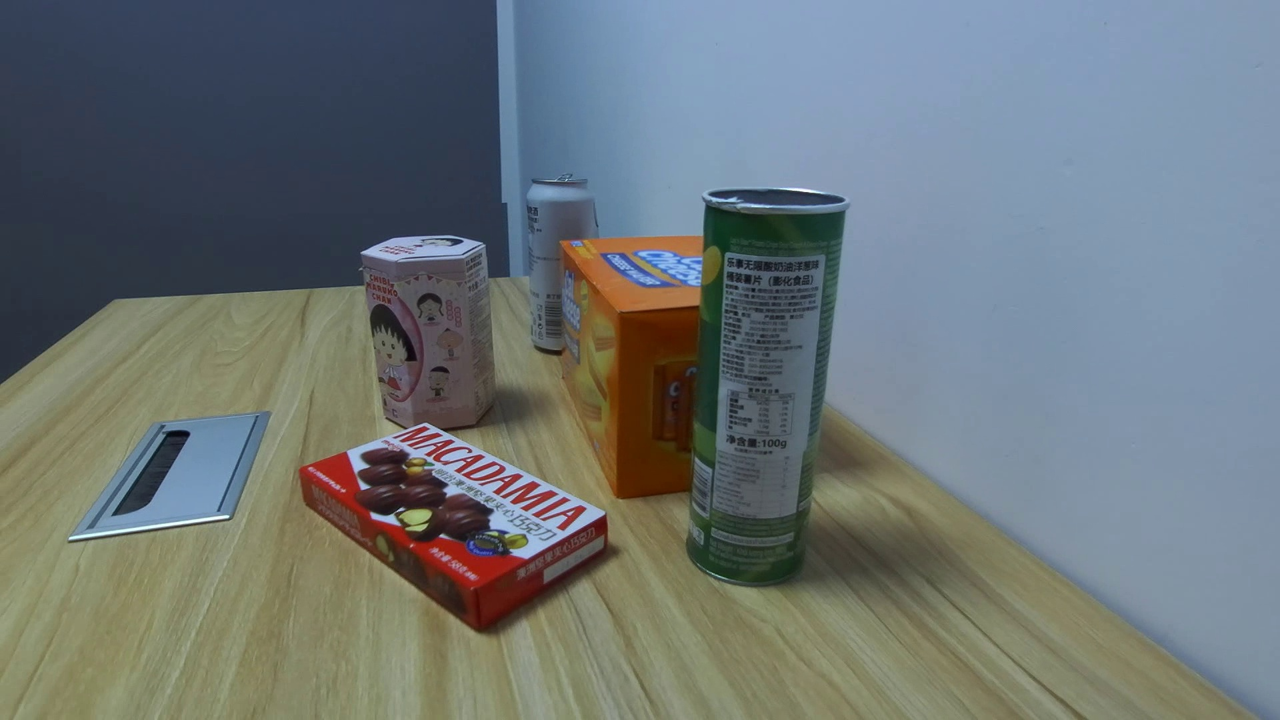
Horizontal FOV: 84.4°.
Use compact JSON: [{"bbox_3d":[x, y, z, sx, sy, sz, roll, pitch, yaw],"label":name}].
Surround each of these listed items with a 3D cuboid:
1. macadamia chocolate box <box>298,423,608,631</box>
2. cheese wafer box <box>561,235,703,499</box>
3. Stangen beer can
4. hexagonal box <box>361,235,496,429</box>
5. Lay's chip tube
[{"bbox_3d":[-0.115,0.088,0.422,0.177,0.027,0.096,18,25,36],"label":"macadamia chocolate box"},{"bbox_3d":[0.031,-0.008,0.553,0.148,0.129,0.221,-4,21,-14],"label":"cheese wafer box"},{"bbox_3d":[-0.076,-0.095,0.706,0.070,0.173,0.070,-9,20,-30],"label":"Stangen beer can"},{"bbox_3d":[-0.162,-0.022,0.552,0.091,0.136,0.084,17,26,36],"label":"hexagonal box"},{"bbox_3d":[0.063,0.015,0.370,0.071,0.202,0.071,1,21,0],"label":"Lay's chip tube"}]
